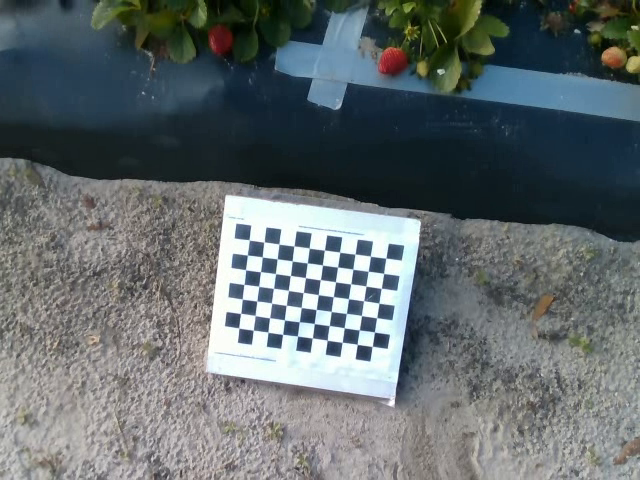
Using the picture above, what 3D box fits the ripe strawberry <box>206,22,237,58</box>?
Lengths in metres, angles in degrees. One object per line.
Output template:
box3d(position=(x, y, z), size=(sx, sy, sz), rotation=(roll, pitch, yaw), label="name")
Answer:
box3d(position=(-0.071, -0.136, 0.412), size=(0.018, 0.023, 0.021), rotation=(-1, -25, 20), label="ripe strawberry")

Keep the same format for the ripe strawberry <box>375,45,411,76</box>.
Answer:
box3d(position=(0.048, -0.122, 0.411), size=(0.023, 0.026, 0.021), rotation=(18, -35, 26), label="ripe strawberry")
